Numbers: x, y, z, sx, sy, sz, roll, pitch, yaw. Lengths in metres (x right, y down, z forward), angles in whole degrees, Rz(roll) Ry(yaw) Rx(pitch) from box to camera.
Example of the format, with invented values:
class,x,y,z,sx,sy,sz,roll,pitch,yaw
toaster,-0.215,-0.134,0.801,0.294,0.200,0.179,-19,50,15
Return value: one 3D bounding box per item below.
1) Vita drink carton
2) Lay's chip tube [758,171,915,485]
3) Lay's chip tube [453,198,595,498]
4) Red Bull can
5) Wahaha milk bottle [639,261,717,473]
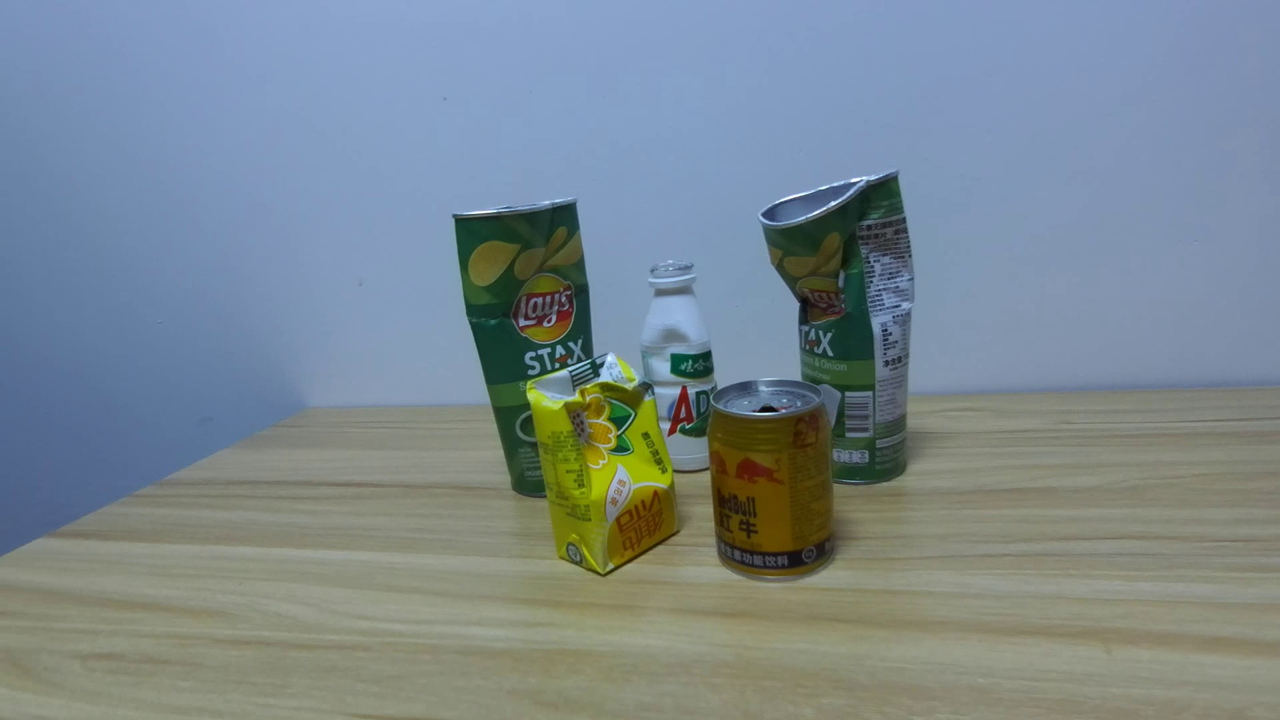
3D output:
class,x,y,z,sx,sy,sz,roll,pitch,yaw
Vita drink carton,-0.018,0.058,0.407,0.071,0.109,0.046,-20,18,-40
Lay's chip tube,0.133,-0.016,0.464,0.071,0.199,0.078,-27,23,-37
Lay's chip tube,-0.072,-0.008,0.506,0.069,0.199,0.075,-3,16,13
Red Bull can,0.071,0.063,0.384,0.067,0.093,0.067,-4,15,1
Wahaha milk bottle,0.029,0.006,0.507,0.055,0.149,0.055,-5,11,1
